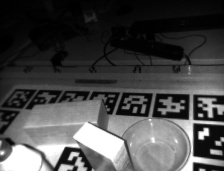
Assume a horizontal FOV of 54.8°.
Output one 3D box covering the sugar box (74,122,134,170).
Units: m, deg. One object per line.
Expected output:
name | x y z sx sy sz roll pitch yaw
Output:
sugar box | -0.007 0.150 0.444 0.091 0.178 0.045 15 51 36

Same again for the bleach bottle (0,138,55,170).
bleach bottle | -0.151 0.181 0.399 0.102 0.253 0.067 -17 39 -1

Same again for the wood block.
wood block | -0.133 0.099 0.618 0.205 0.091 0.090 -5 45 10

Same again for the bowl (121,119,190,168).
bowl | 0.103 0.142 0.518 0.161 0.056 0.161 -11 39 10
